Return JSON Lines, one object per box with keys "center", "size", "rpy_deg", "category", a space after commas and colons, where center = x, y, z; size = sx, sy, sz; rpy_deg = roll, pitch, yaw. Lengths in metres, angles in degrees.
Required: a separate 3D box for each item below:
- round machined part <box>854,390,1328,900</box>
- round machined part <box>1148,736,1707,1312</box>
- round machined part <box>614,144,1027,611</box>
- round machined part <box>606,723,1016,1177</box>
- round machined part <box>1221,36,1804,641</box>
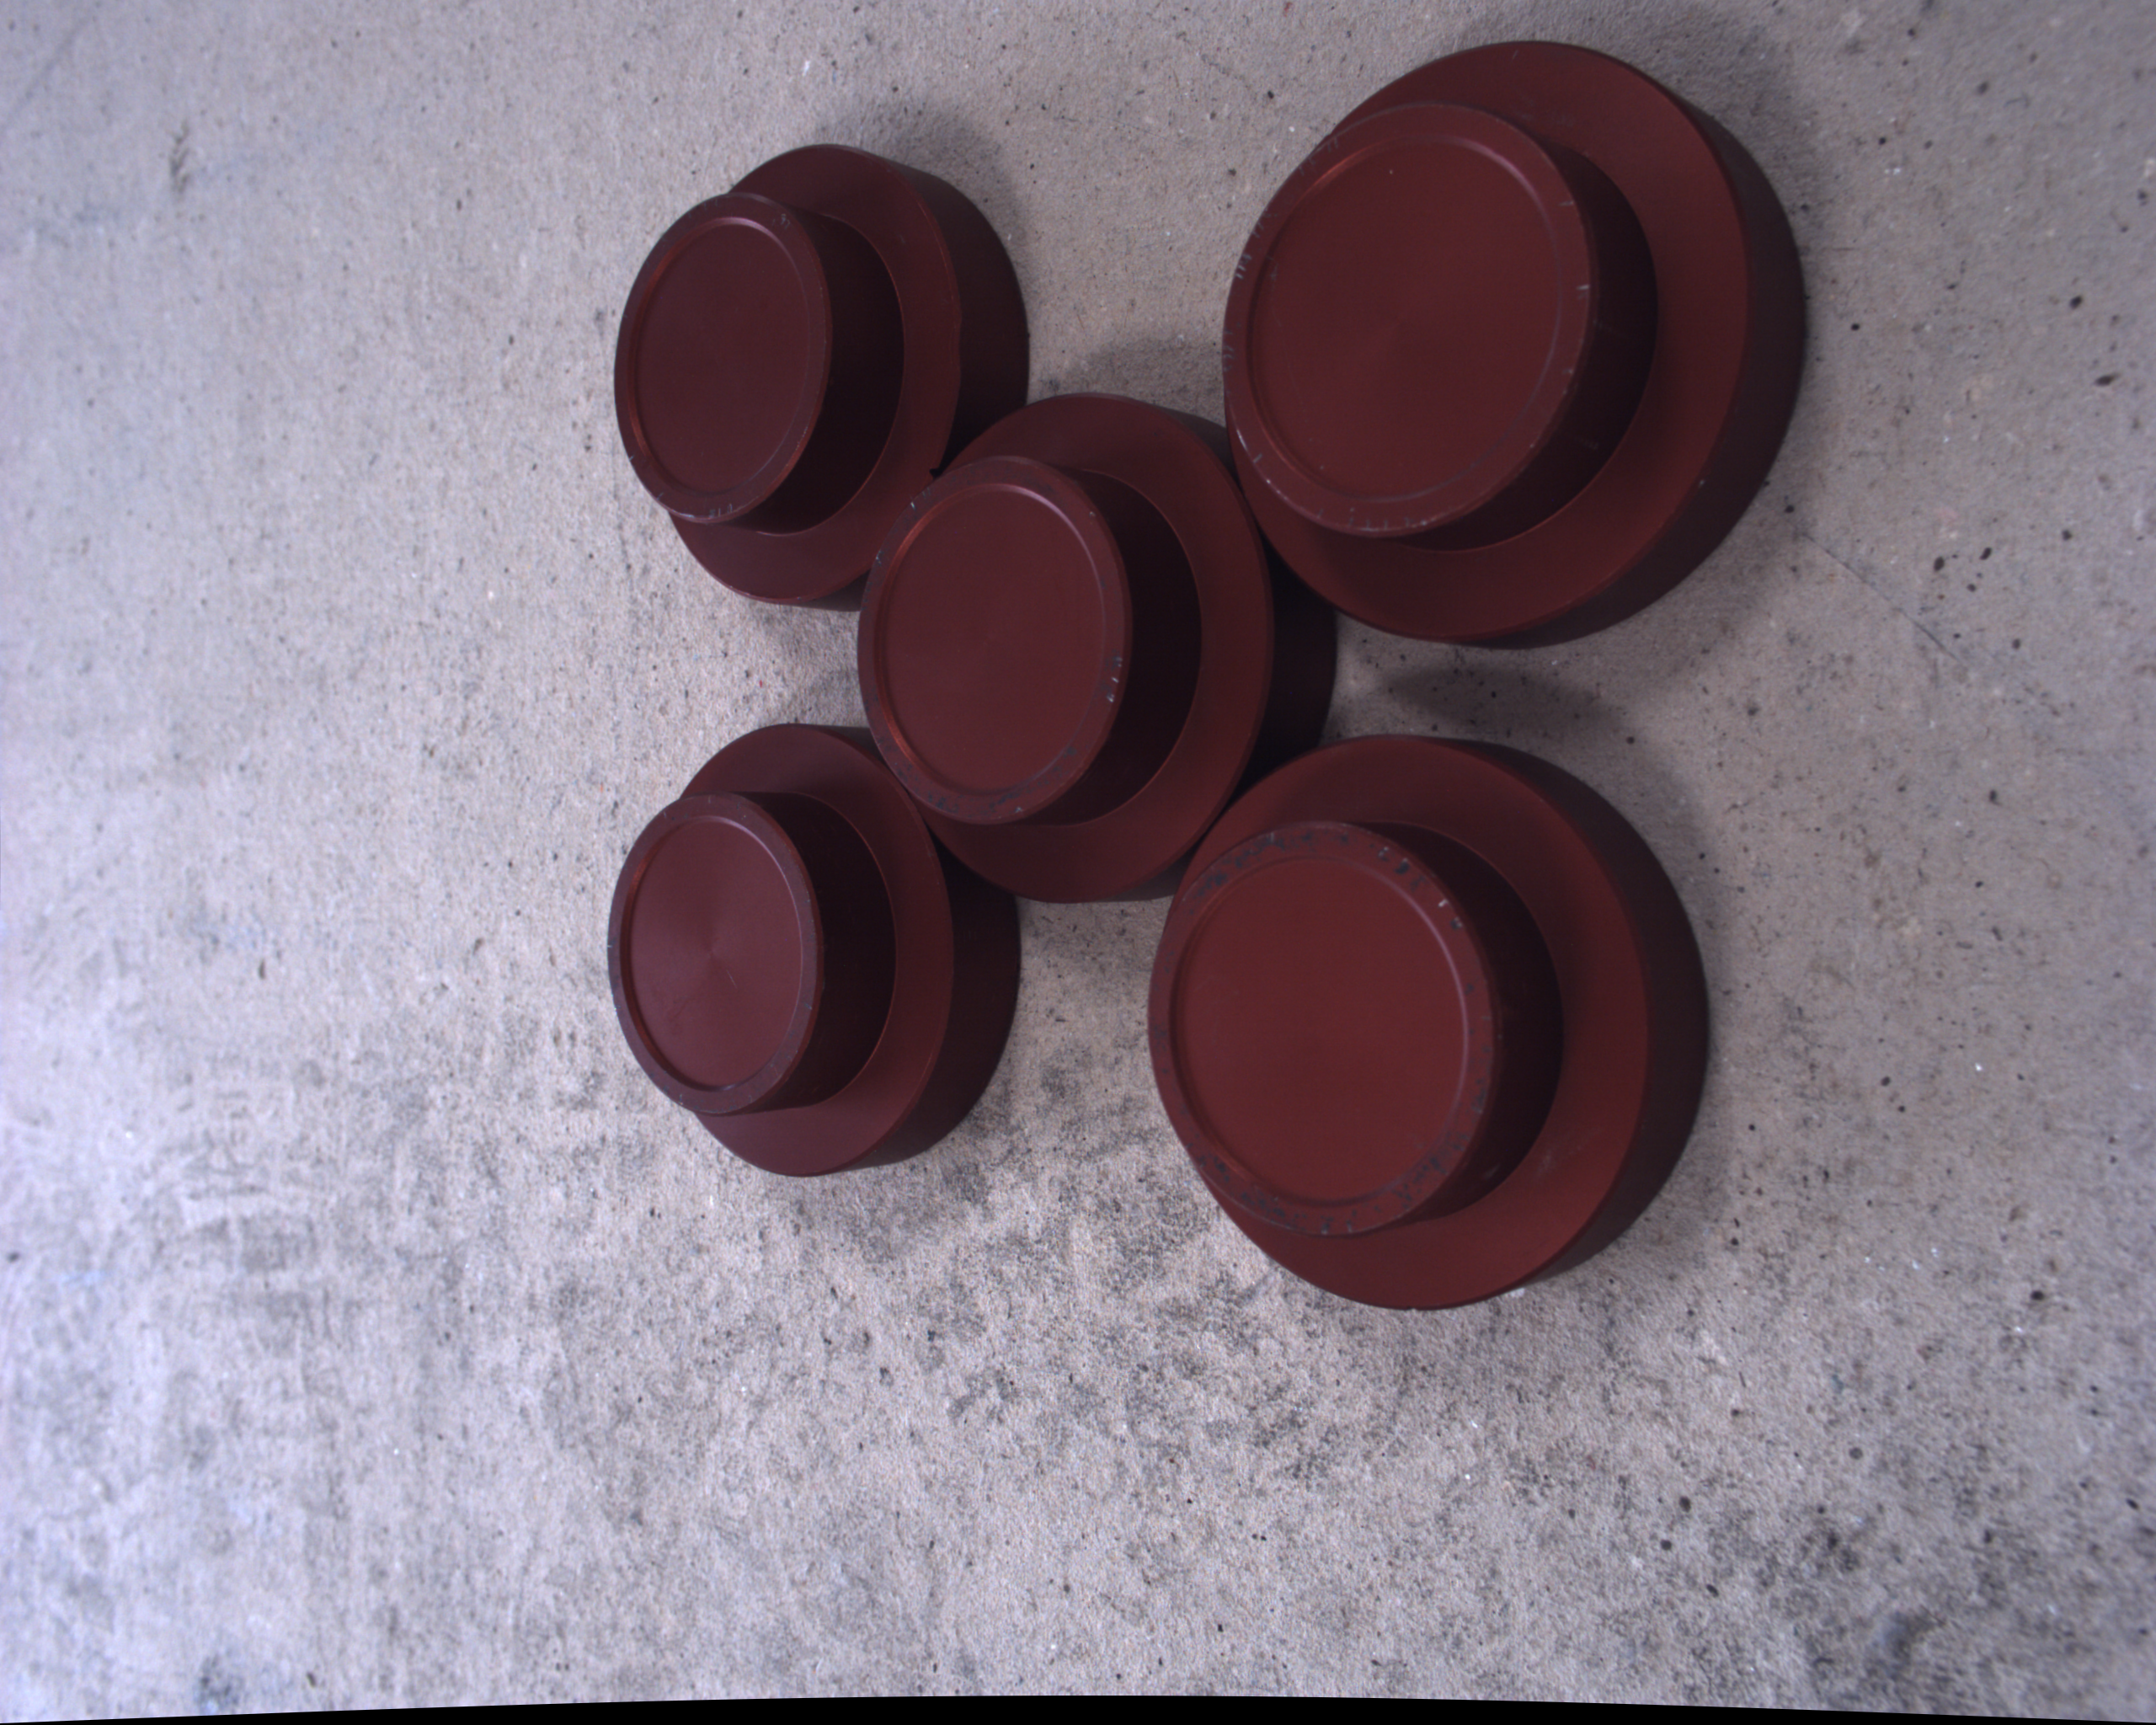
{"center": [-0.005, -0.041, 0.399], "size": [0.098, 0.042, 0.097], "rpy_deg": [2, 93, 41], "category": "round machined part"}
{"center": [0.051, 0.027, 0.353], "size": [0.098, 0.042, 0.097], "rpy_deg": [2, 93, 41], "category": "round machined part"}
{"center": [-0.061, -0.104, 0.446], "size": [0.098, 0.042, 0.097], "rpy_deg": [0, 90, 40], "category": "round machined part"}
{"center": [-0.063, 0.019, 0.448], "size": [0.098, 0.042, 0.097], "rpy_deg": [1, 91, 39], "category": "round machined part"}
{"center": [0.063, -0.085, 0.343], "size": [0.098, 0.042, 0.097], "rpy_deg": [2, 93, 41], "category": "round machined part"}
